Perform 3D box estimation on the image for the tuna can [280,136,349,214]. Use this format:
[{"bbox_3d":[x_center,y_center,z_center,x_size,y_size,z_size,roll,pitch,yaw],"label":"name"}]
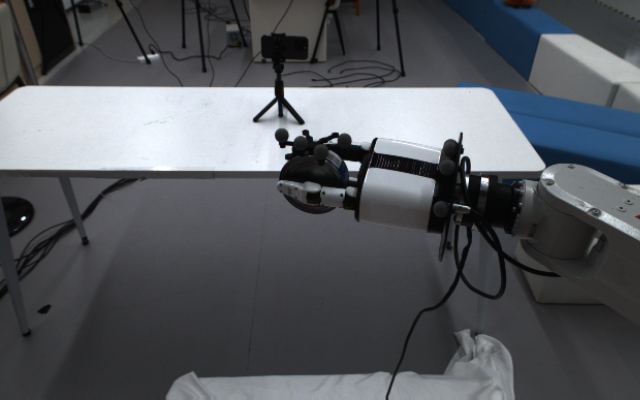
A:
[{"bbox_3d":[-0.005,-0.027,0.621,0.085,0.085,0.034,10,34,12],"label":"tuna can"}]
